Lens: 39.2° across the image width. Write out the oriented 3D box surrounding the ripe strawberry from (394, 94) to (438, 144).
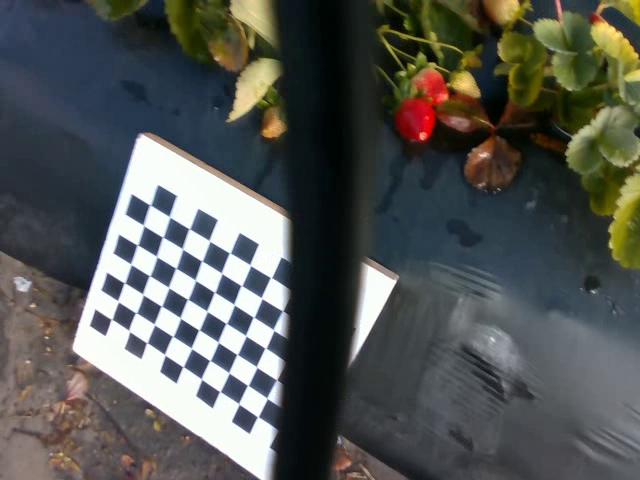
[{"bbox_3d":[0.089,-0.109,0.836,0.041,0.055,0.044,33,-55,-31],"label":"ripe strawberry"}]
